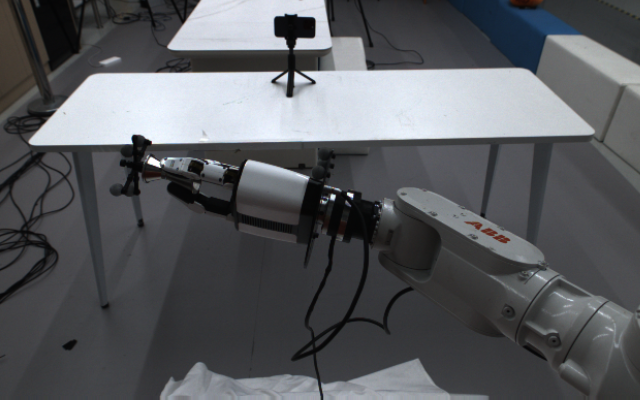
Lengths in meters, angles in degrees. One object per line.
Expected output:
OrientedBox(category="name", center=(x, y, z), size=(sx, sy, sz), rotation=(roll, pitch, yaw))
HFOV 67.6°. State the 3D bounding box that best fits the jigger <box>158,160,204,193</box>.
OrientedBox(category="jigger", center=(-0.188, -0.038, 0.643), size=(0.071, 0.043, 0.043), rotation=(11, 35, 1))
